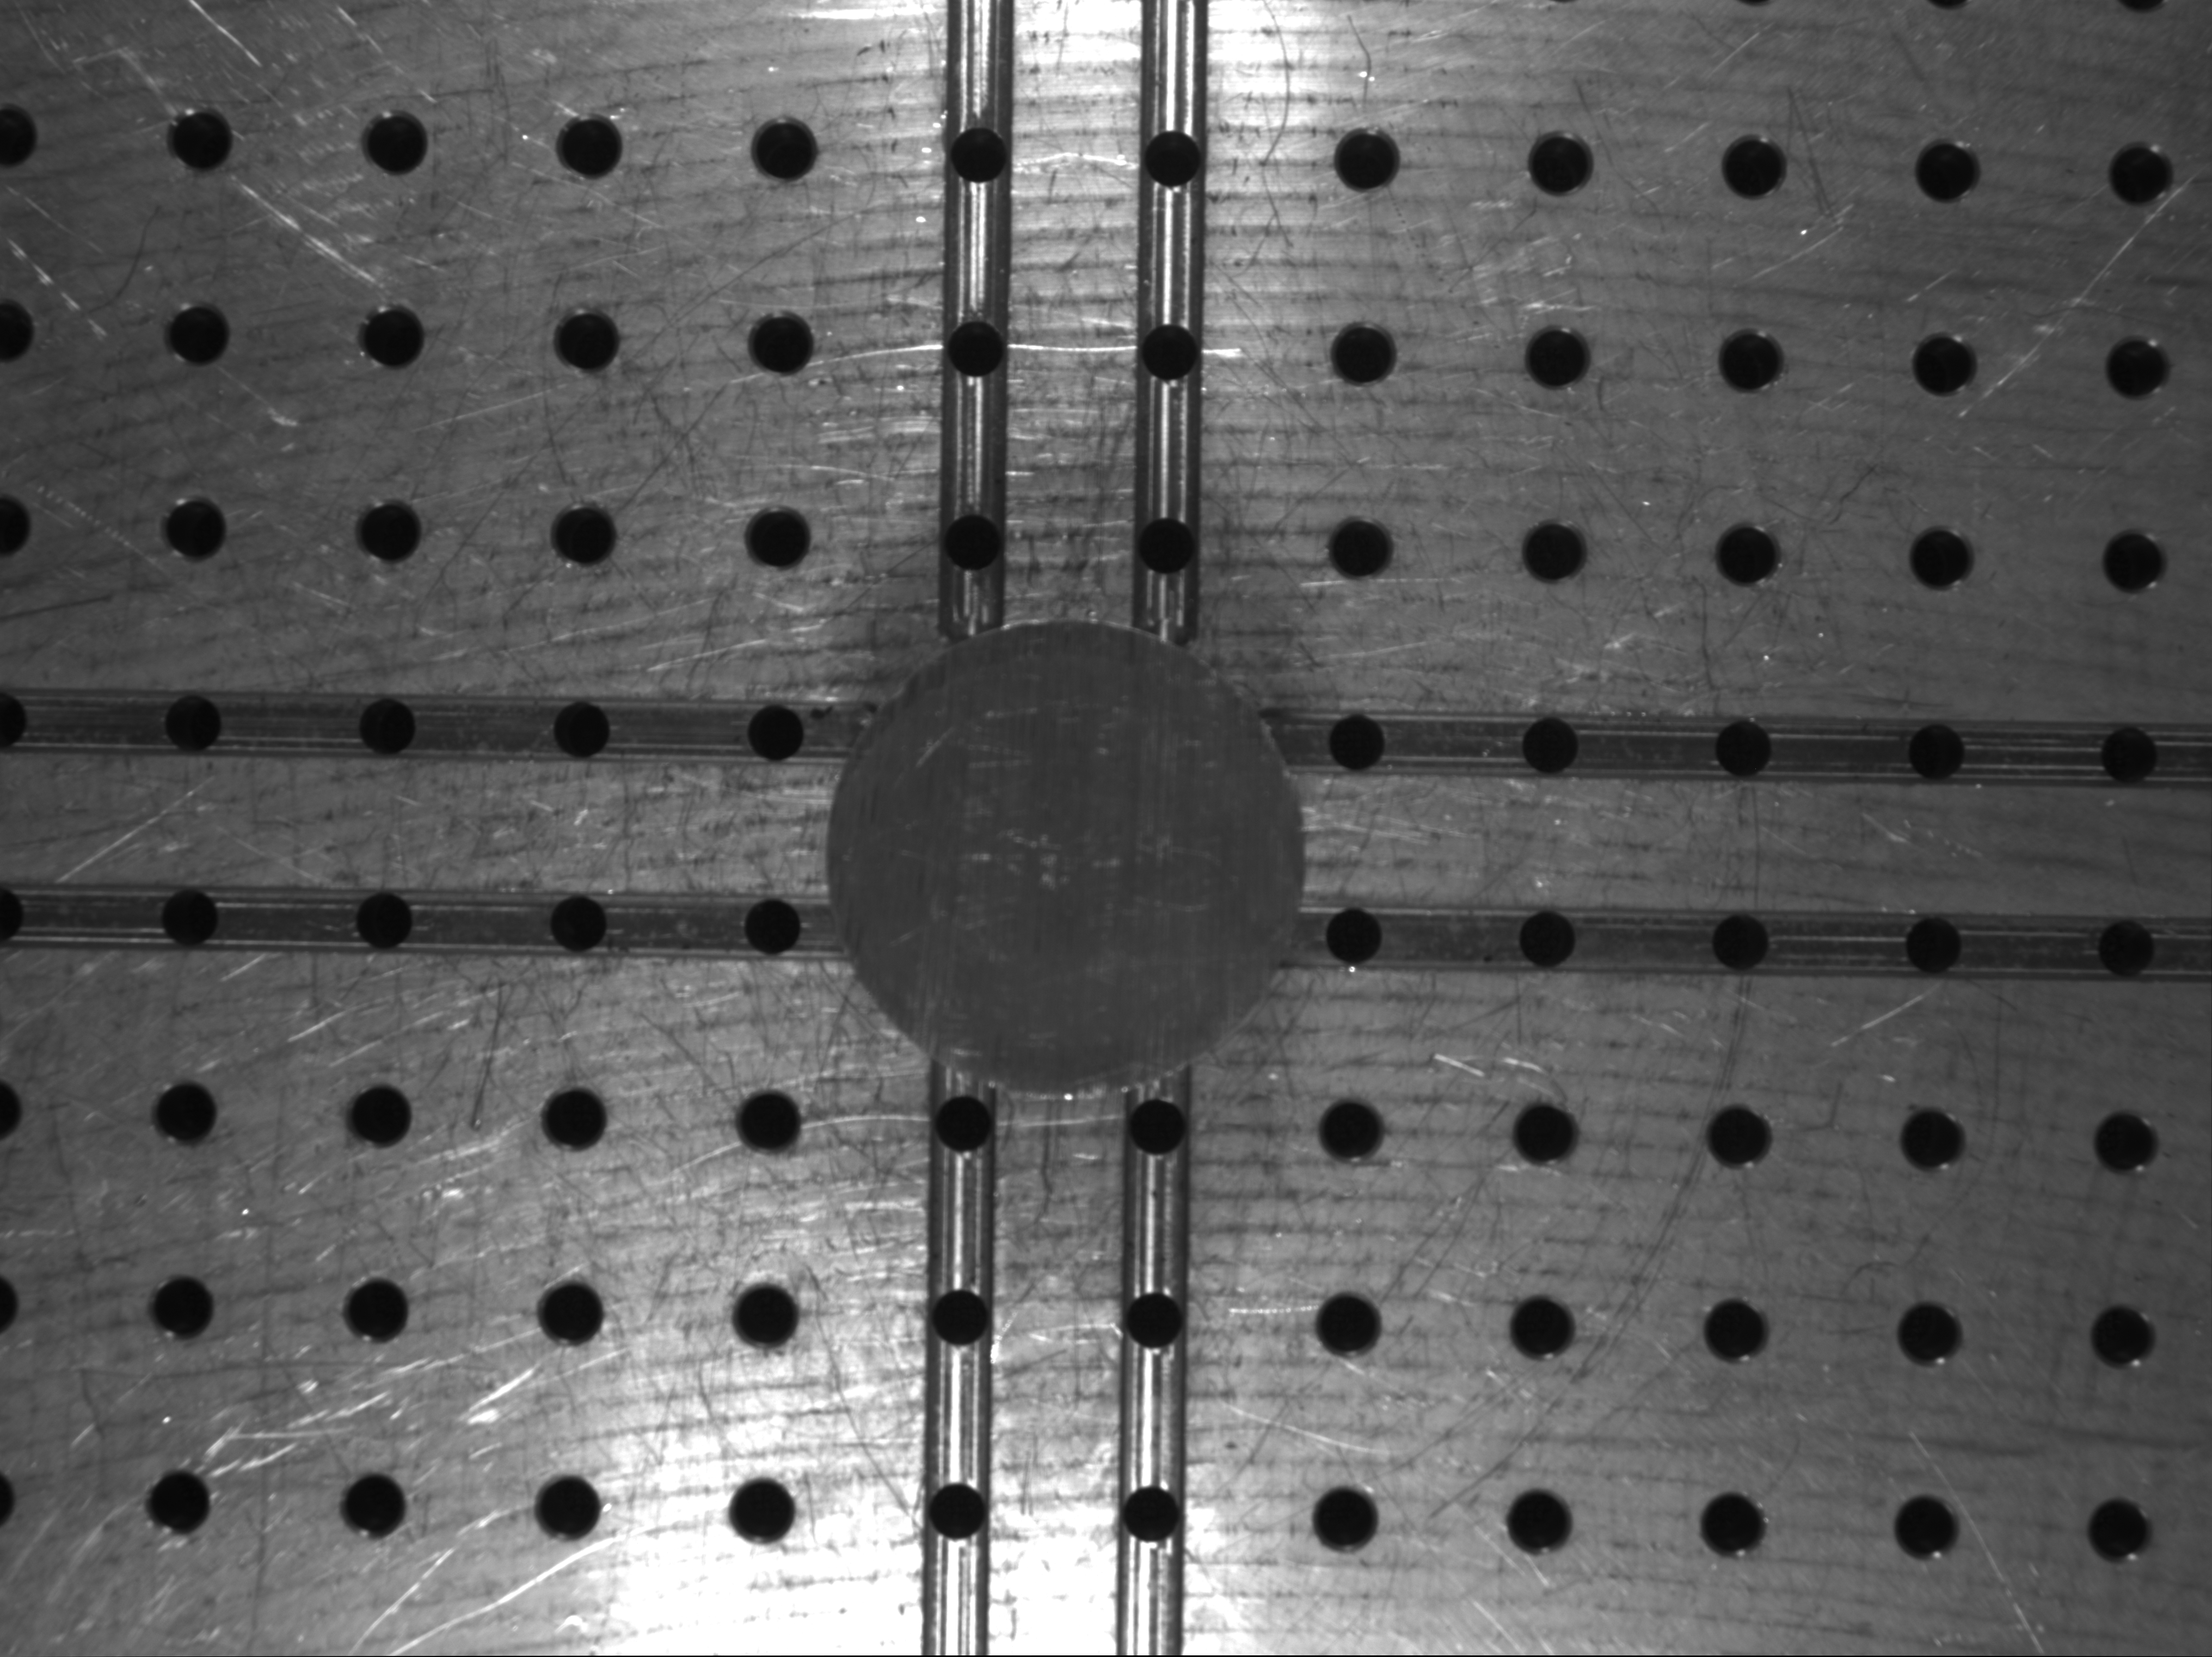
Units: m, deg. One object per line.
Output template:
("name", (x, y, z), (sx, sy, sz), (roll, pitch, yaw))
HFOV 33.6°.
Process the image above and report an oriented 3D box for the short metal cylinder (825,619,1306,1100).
("short metal cylinder", (-0.007, 0.005, 0.634), (0.080, 0.050, 0.080), (0, 90, 0))
